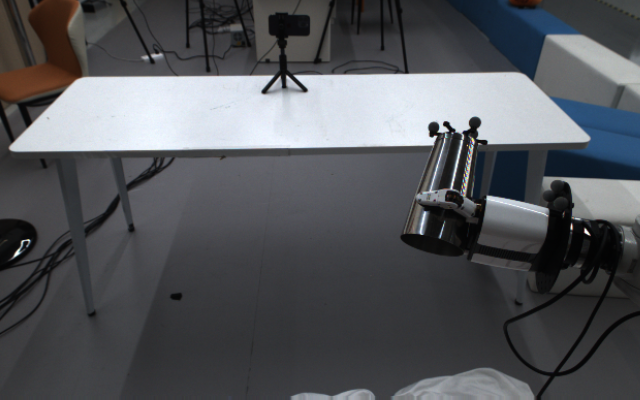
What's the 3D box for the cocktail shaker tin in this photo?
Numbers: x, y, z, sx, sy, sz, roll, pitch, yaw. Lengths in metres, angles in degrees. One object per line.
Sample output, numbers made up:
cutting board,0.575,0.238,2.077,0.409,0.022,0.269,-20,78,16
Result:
cocktail shaker tin,0.184,-0.012,0.721,0.093,0.093,0.170,14,73,16
